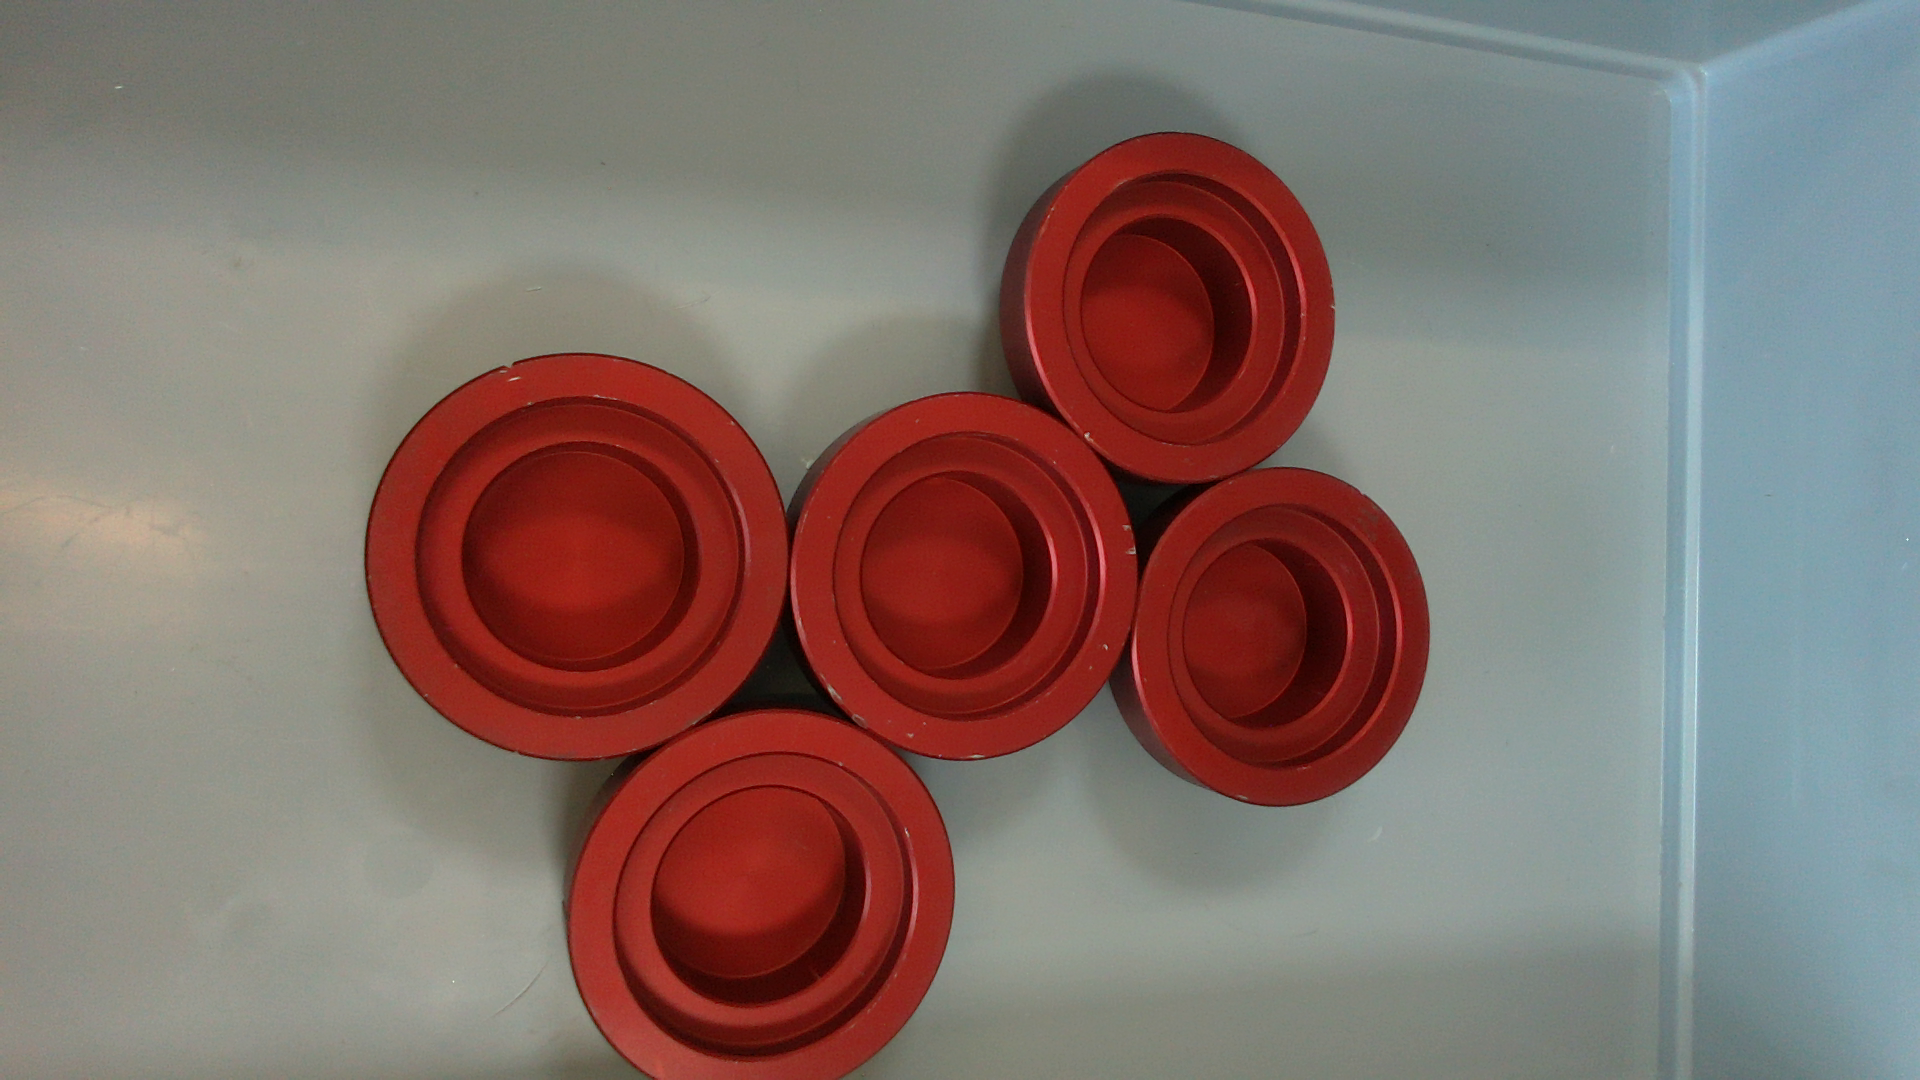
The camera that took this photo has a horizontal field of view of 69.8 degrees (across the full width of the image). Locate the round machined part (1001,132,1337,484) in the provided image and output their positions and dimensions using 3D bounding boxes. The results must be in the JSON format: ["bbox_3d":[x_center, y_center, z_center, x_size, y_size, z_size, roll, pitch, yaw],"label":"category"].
[{"bbox_3d":[0.057,-0.065,0.403,0.098,0.042,0.098,0,90,-20],"label":"round machined part"}]

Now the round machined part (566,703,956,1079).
[{"bbox_3d":[-0.054,0.092,0.362,0.098,0.042,0.098,0,90,-20],"label":"round machined part"}]

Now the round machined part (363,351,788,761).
[{"bbox_3d":[-0.096,0.004,0.347,0.098,0.042,0.098,0,90,-20],"label":"round machined part"}]

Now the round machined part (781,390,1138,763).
[{"bbox_3d":[-0.004,0.010,0.380,0.098,0.042,0.098,0,90,-20],"label":"round machined part"}]

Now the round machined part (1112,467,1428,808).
[{"bbox_3d":[0.088,0.028,0.414,0.098,0.042,0.098,0,90,-20],"label":"round machined part"}]
